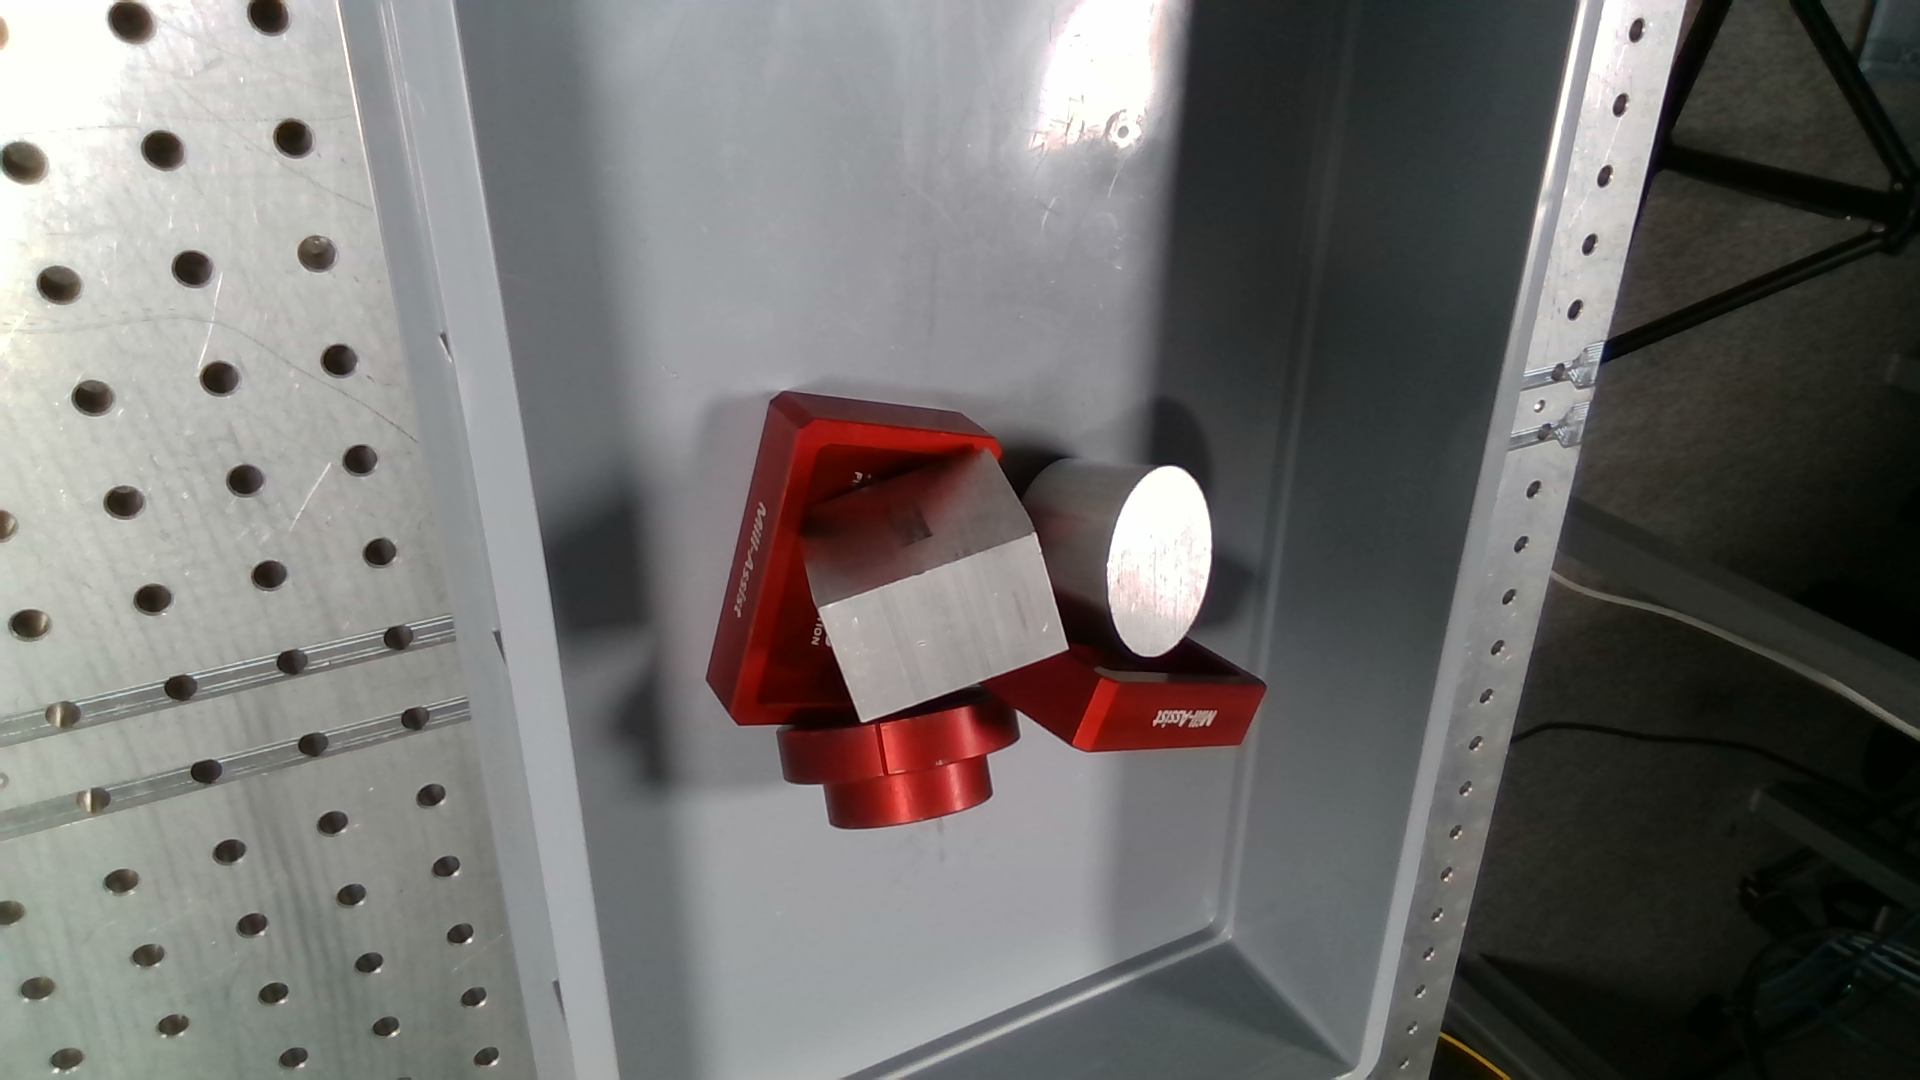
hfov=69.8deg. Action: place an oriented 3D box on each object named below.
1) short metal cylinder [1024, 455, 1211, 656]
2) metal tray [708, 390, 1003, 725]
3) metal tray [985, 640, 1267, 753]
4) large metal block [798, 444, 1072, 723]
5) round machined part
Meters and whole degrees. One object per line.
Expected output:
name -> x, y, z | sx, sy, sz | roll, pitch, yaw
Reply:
short metal cylinder -> 0.065, 0.006, 0.587 | 0.080, 0.050, 0.080 | -12, 106, -49
metal tray -> -0.043, 0.010, 0.554 | 0.090, 0.030, 0.130 | 3, 113, -33
metal tray -> 0.060, 0.053, 0.583 | 0.130, 0.090, 0.030 | 8, 108, -51
large metal block -> -0.012, 0.013, 0.514 | 0.080, 0.080, 0.050 | -20, 119, -3
round machined part -> -0.024, 0.089, 0.562 | 0.098, 0.098, 0.042 | -9, 89, -28
